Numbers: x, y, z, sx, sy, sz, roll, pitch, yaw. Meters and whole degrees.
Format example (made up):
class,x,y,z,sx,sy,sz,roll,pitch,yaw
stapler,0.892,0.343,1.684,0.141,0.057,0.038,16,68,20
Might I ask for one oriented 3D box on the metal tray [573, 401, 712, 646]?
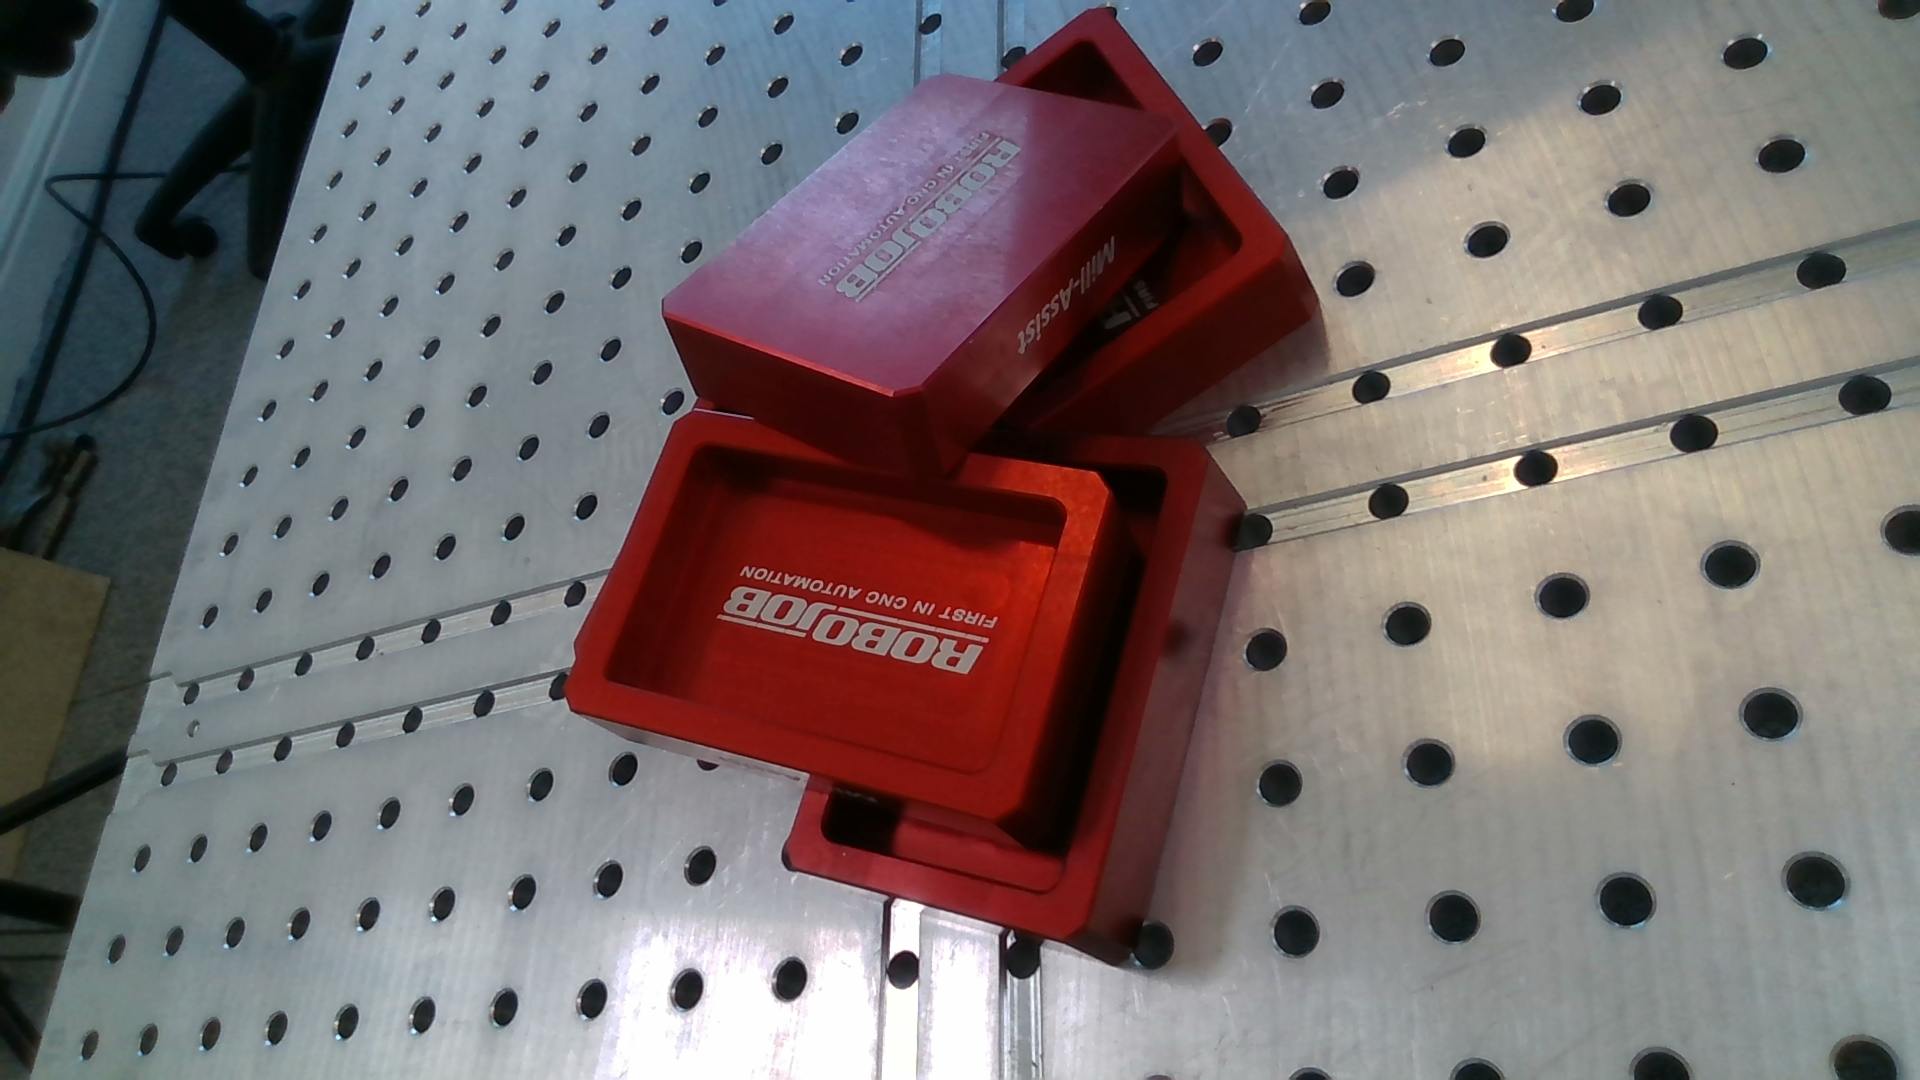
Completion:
class,x,y,z,sx,sy,sz,roll,pitch,yaw
metal tray,-0.056,-0.007,0.431,0.090,0.030,0.130,13,73,36

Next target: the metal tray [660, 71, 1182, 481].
class,x,y,z,sx,sy,sz,roll,pitch,yaw
metal tray,-0.008,-0.080,0.387,0.090,0.030,0.130,23,56,30

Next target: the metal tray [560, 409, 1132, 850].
class,x,y,z,sx,sy,sz,roll,pitch,yaw
metal tray,-0.030,0.019,0.360,0.130,0.030,0.090,11,71,23

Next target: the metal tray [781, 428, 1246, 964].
class,x,y,z,sx,sy,sz,roll,pitch,yaw
metal tray,0.015,0.035,0.364,0.090,0.030,0.130,5,68,33

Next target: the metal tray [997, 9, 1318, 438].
class,x,y,z,sx,sy,sz,roll,pitch,yaw
metal tray,0.037,-0.094,0.419,0.090,0.030,0.130,-34,52,12
